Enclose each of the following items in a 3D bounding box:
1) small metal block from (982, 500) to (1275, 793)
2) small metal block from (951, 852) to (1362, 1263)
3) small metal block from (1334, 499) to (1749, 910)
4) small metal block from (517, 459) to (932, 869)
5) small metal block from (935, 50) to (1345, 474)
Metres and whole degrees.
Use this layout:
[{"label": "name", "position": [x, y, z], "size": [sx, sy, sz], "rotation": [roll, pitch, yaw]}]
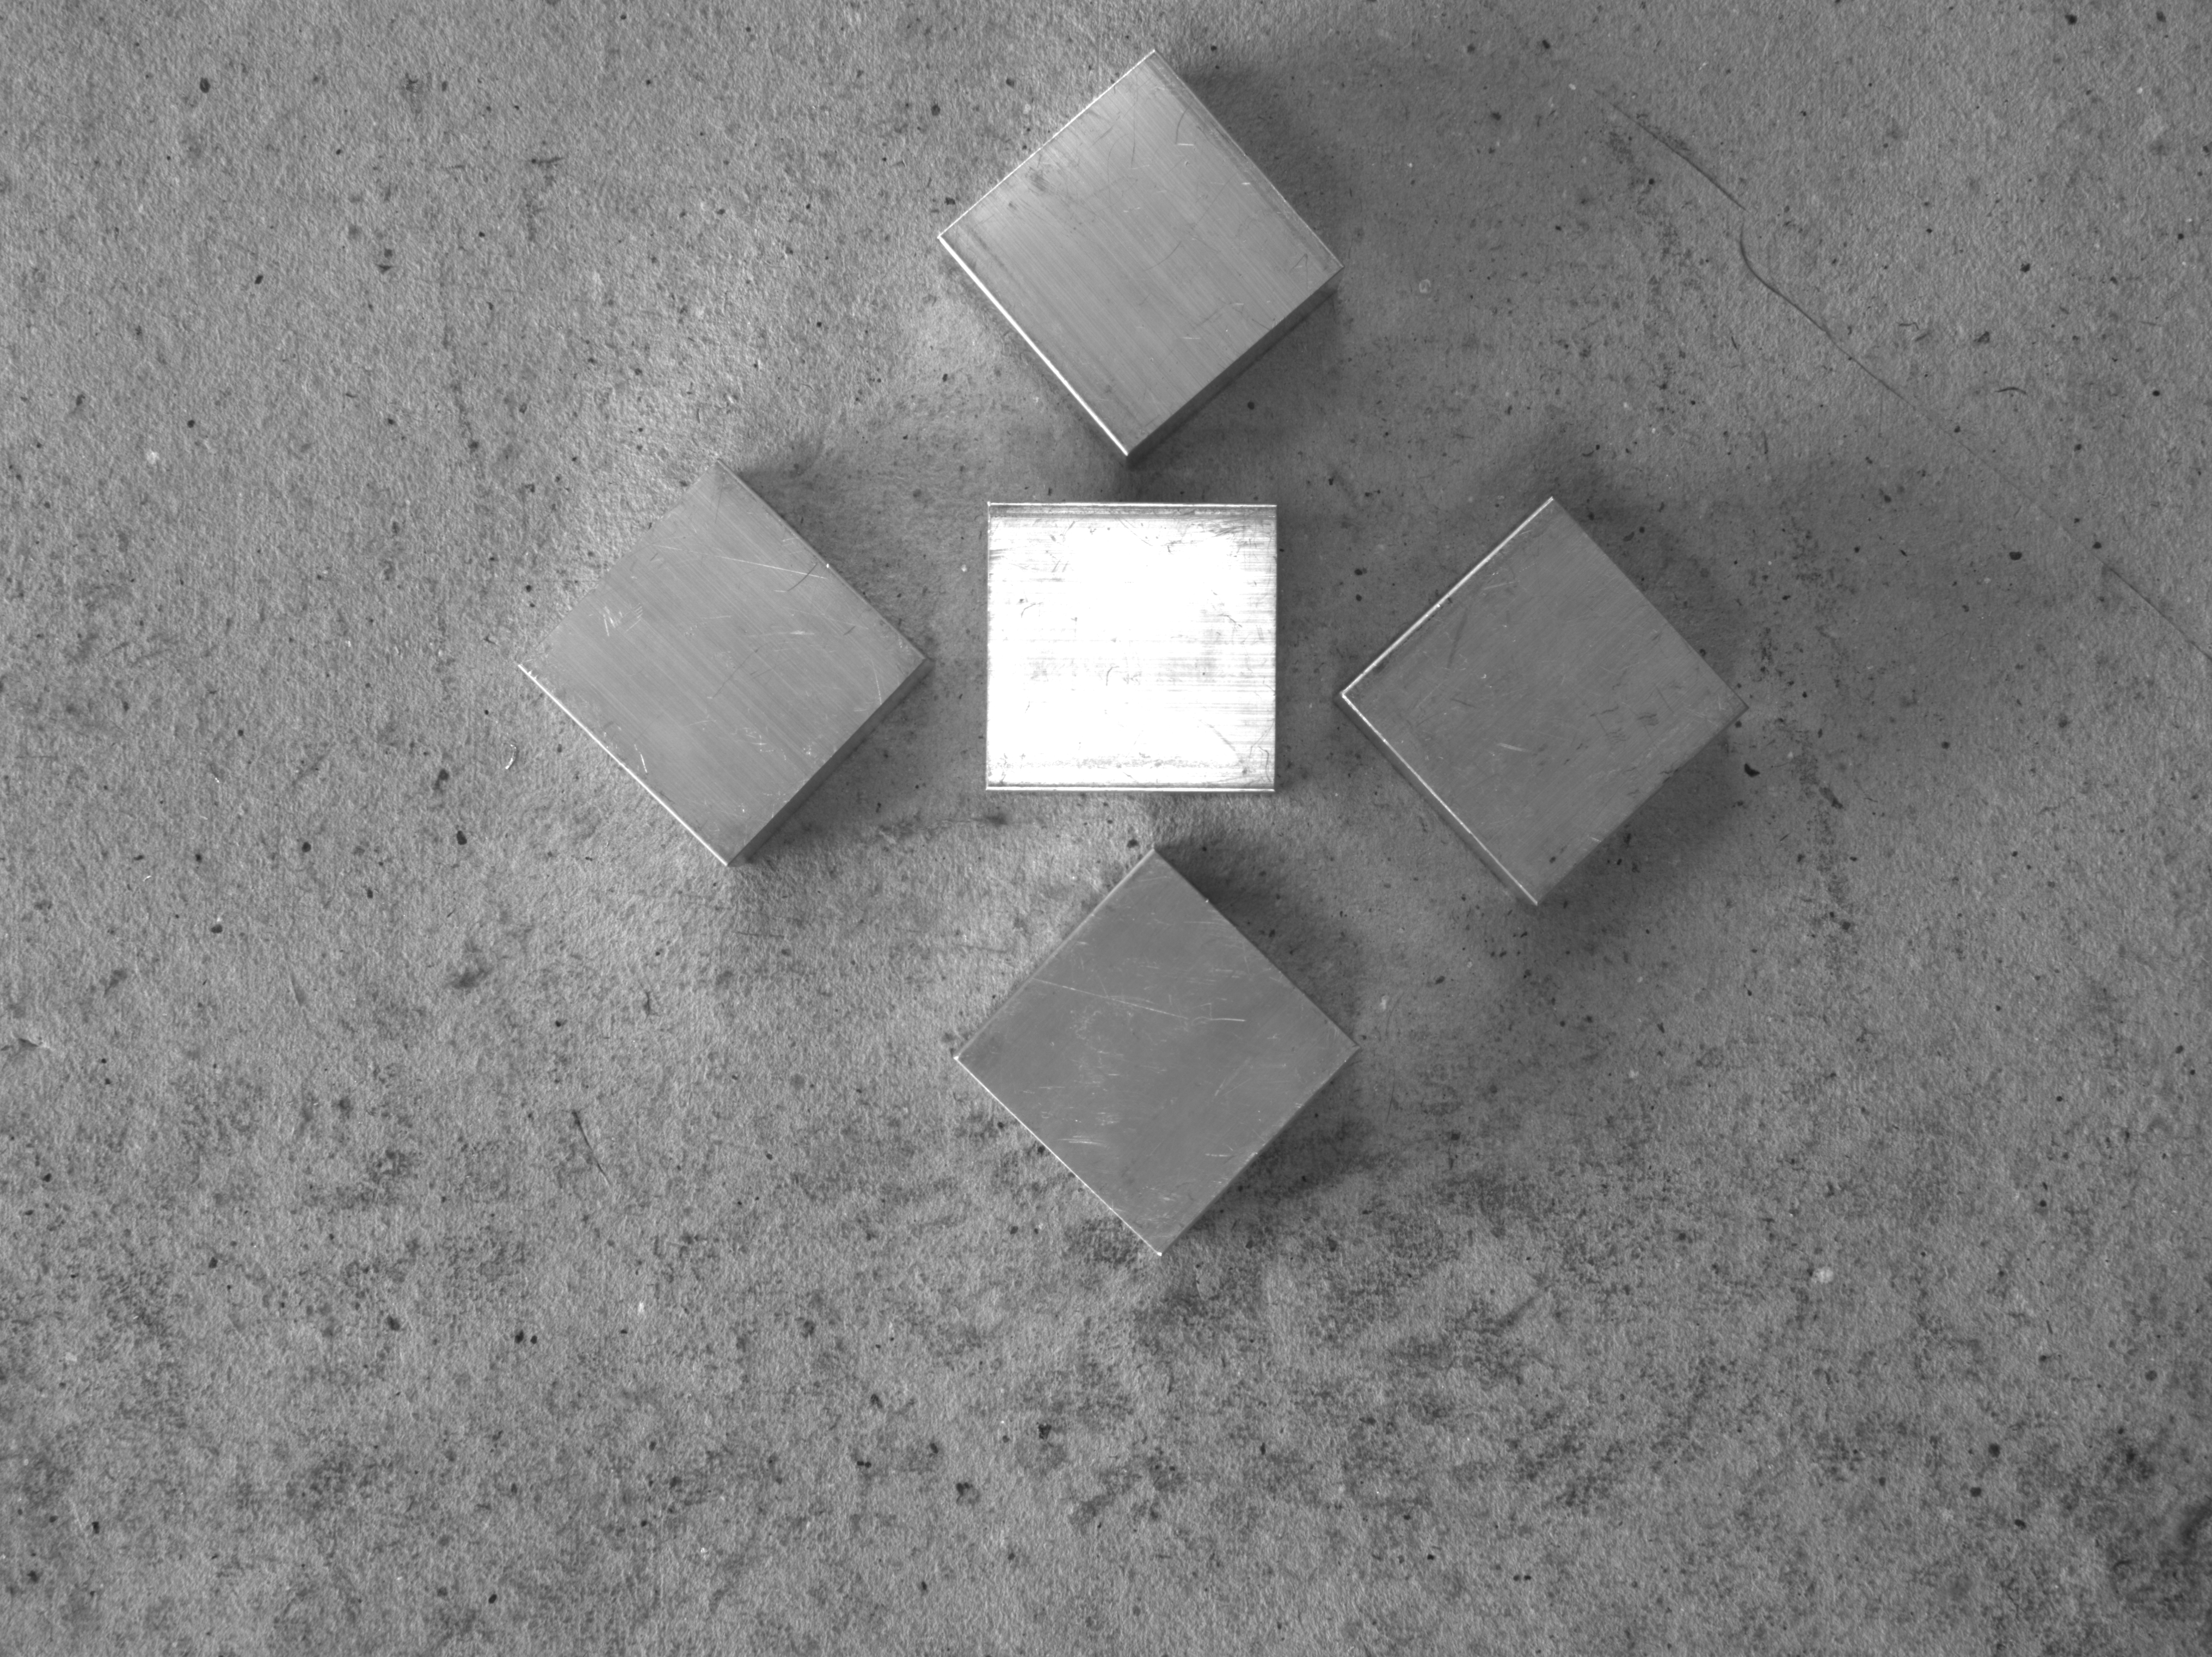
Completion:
[{"label": "small metal block", "position": [0.004, -0.031, 0.646], "size": [0.050, 0.025, 0.050], "rotation": [0, 90, 1]}, {"label": "small metal block", "position": [0.009, 0.039, 0.646], "size": [0.050, 0.025, 0.050], "rotation": [44, 89, 0]}, {"label": "small metal block", "position": [0.075, -0.021, 0.646], "size": [0.050, 0.025, 0.050], "rotation": [-43, 90, 0]}, {"label": "small metal block", "position": [-0.066, -0.028, 0.646], "size": [0.050, 0.025, 0.050], "rotation": [44, 89, 0]}, {"label": "small metal block", "position": [0.006, -0.098, 0.645], "size": [0.050, 0.025, 0.050], "rotation": [-41, 89, -1]}]
